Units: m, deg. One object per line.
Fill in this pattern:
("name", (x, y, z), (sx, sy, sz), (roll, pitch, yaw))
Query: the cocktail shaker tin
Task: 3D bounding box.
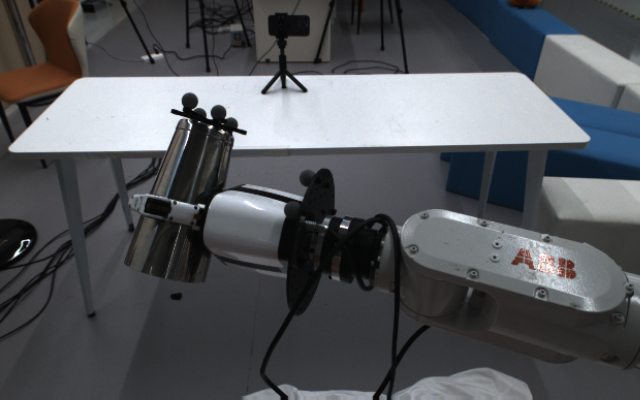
("cocktail shaker tin", (-0.152, 0.001, 0.553), (0.093, 0.170, 0.093), (15, -4, 1))
